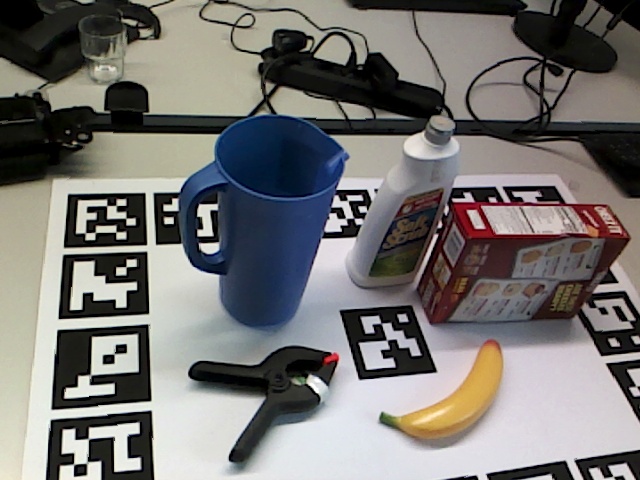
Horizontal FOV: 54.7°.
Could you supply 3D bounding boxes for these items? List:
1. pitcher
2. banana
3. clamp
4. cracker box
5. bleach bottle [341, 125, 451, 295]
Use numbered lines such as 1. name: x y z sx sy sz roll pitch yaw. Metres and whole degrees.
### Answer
1. pitcher: -0.069 -0.012 0.705 0.188 0.242 0.134 -16 50 -30
2. banana: 0.166 0.182 0.750 0.074 0.039 0.196 38 49 24
3. clamp: -0.050 0.169 0.705 0.164 0.036 0.122 -15 49 -28
4. cracker box: 0.260 0.031 0.802 0.213 0.164 0.072 -2 43 -13
5. bleach bottle: 0.100 -0.035 0.793 0.102 0.250 0.068 -3 45 -15
